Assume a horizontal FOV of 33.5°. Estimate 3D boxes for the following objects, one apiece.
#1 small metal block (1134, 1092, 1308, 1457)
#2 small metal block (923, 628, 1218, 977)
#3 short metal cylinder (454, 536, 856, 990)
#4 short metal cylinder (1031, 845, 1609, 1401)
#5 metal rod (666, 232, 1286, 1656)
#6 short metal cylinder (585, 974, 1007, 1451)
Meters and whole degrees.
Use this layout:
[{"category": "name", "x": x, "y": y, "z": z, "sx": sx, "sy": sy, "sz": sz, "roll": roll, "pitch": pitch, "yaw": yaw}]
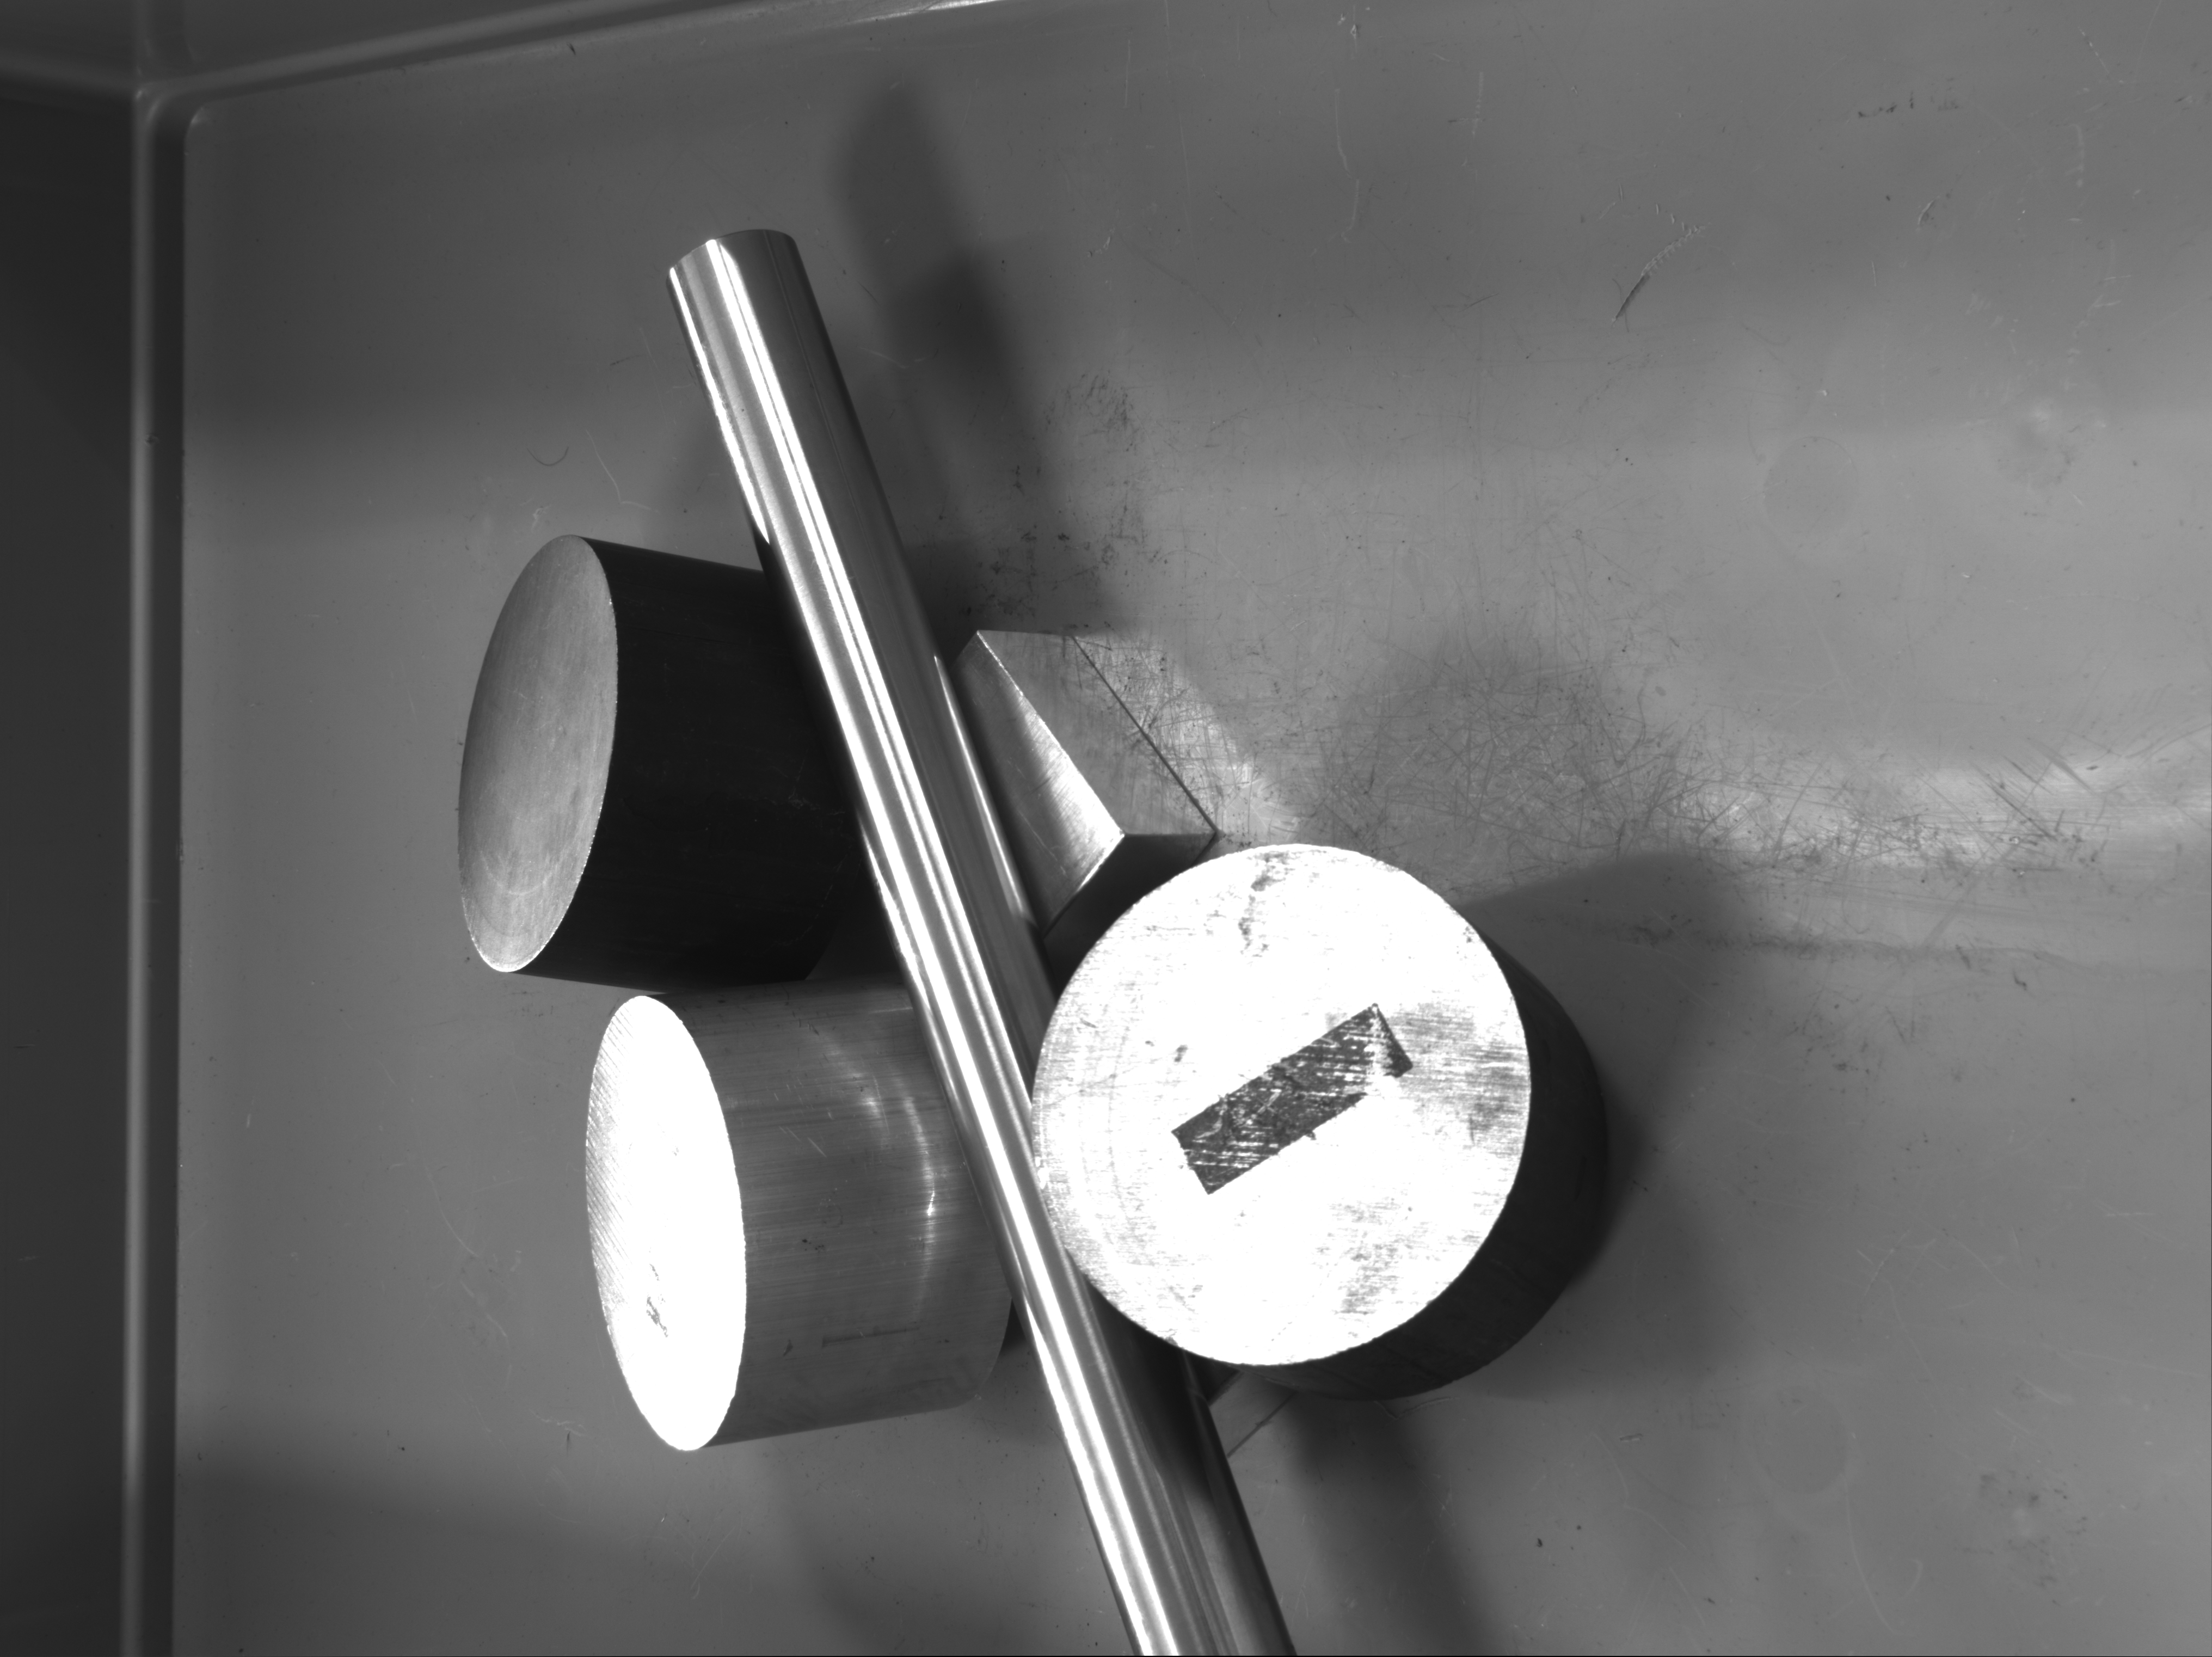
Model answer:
[{"category": "small metal block", "x": 0.013, "y": 0.077, "z": 0.633, "sx": 0.050, "sy": 0.025, "sz": 0.050, "roll": -48, "pitch": 61, "yaw": 29}, {"category": "small metal block", "x": -0.015, "y": 0.000, "z": 0.657, "sx": 0.050, "sy": 0.025, "sz": 0.050, "roll": -51, "pitch": 60, "yaw": 28}, {"category": "short metal cylinder", "x": -0.083, "y": -0.010, "z": 0.679, "sx": 0.080, "sy": 0.050, "sz": 0.080, "roll": -27, "pitch": 59, "yaw": 56}, {"category": "short metal cylinder", "x": 0.035, "y": 0.048, "z": 0.581, "sx": 0.080, "sy": 0.050, "sz": 0.080, "roll": -6, "pitch": 73, "yaw": 20}, {"category": "metal rod", "x": -0.020, "y": 0.033, "z": 0.627, "sx": 0.025, "sy": 0.025, "sz": 0.300, "roll": -32, "pitch": 70, "yaw": 36}, {"category": "short metal cylinder", "x": -0.056, "y": 0.068, "z": 0.657, "sx": 0.080, "sy": 0.050, "sz": 0.080, "roll": 15, "pitch": 107, "yaw": 62}]
